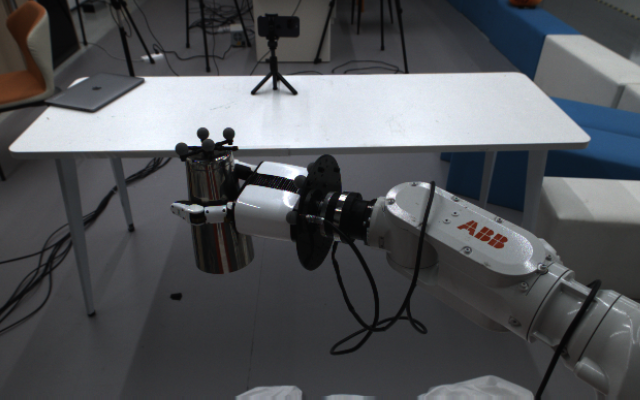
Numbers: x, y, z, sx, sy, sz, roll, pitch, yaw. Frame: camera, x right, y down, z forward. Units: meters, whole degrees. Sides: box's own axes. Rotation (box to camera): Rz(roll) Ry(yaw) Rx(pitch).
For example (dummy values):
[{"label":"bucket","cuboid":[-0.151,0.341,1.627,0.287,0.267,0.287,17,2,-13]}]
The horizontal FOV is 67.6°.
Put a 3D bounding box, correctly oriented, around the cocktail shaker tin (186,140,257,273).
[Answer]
[{"label":"cocktail shaker tin","cuboid":[-0.150,0.011,0.713,0.093,0.170,0.093,-3,25,1]}]
